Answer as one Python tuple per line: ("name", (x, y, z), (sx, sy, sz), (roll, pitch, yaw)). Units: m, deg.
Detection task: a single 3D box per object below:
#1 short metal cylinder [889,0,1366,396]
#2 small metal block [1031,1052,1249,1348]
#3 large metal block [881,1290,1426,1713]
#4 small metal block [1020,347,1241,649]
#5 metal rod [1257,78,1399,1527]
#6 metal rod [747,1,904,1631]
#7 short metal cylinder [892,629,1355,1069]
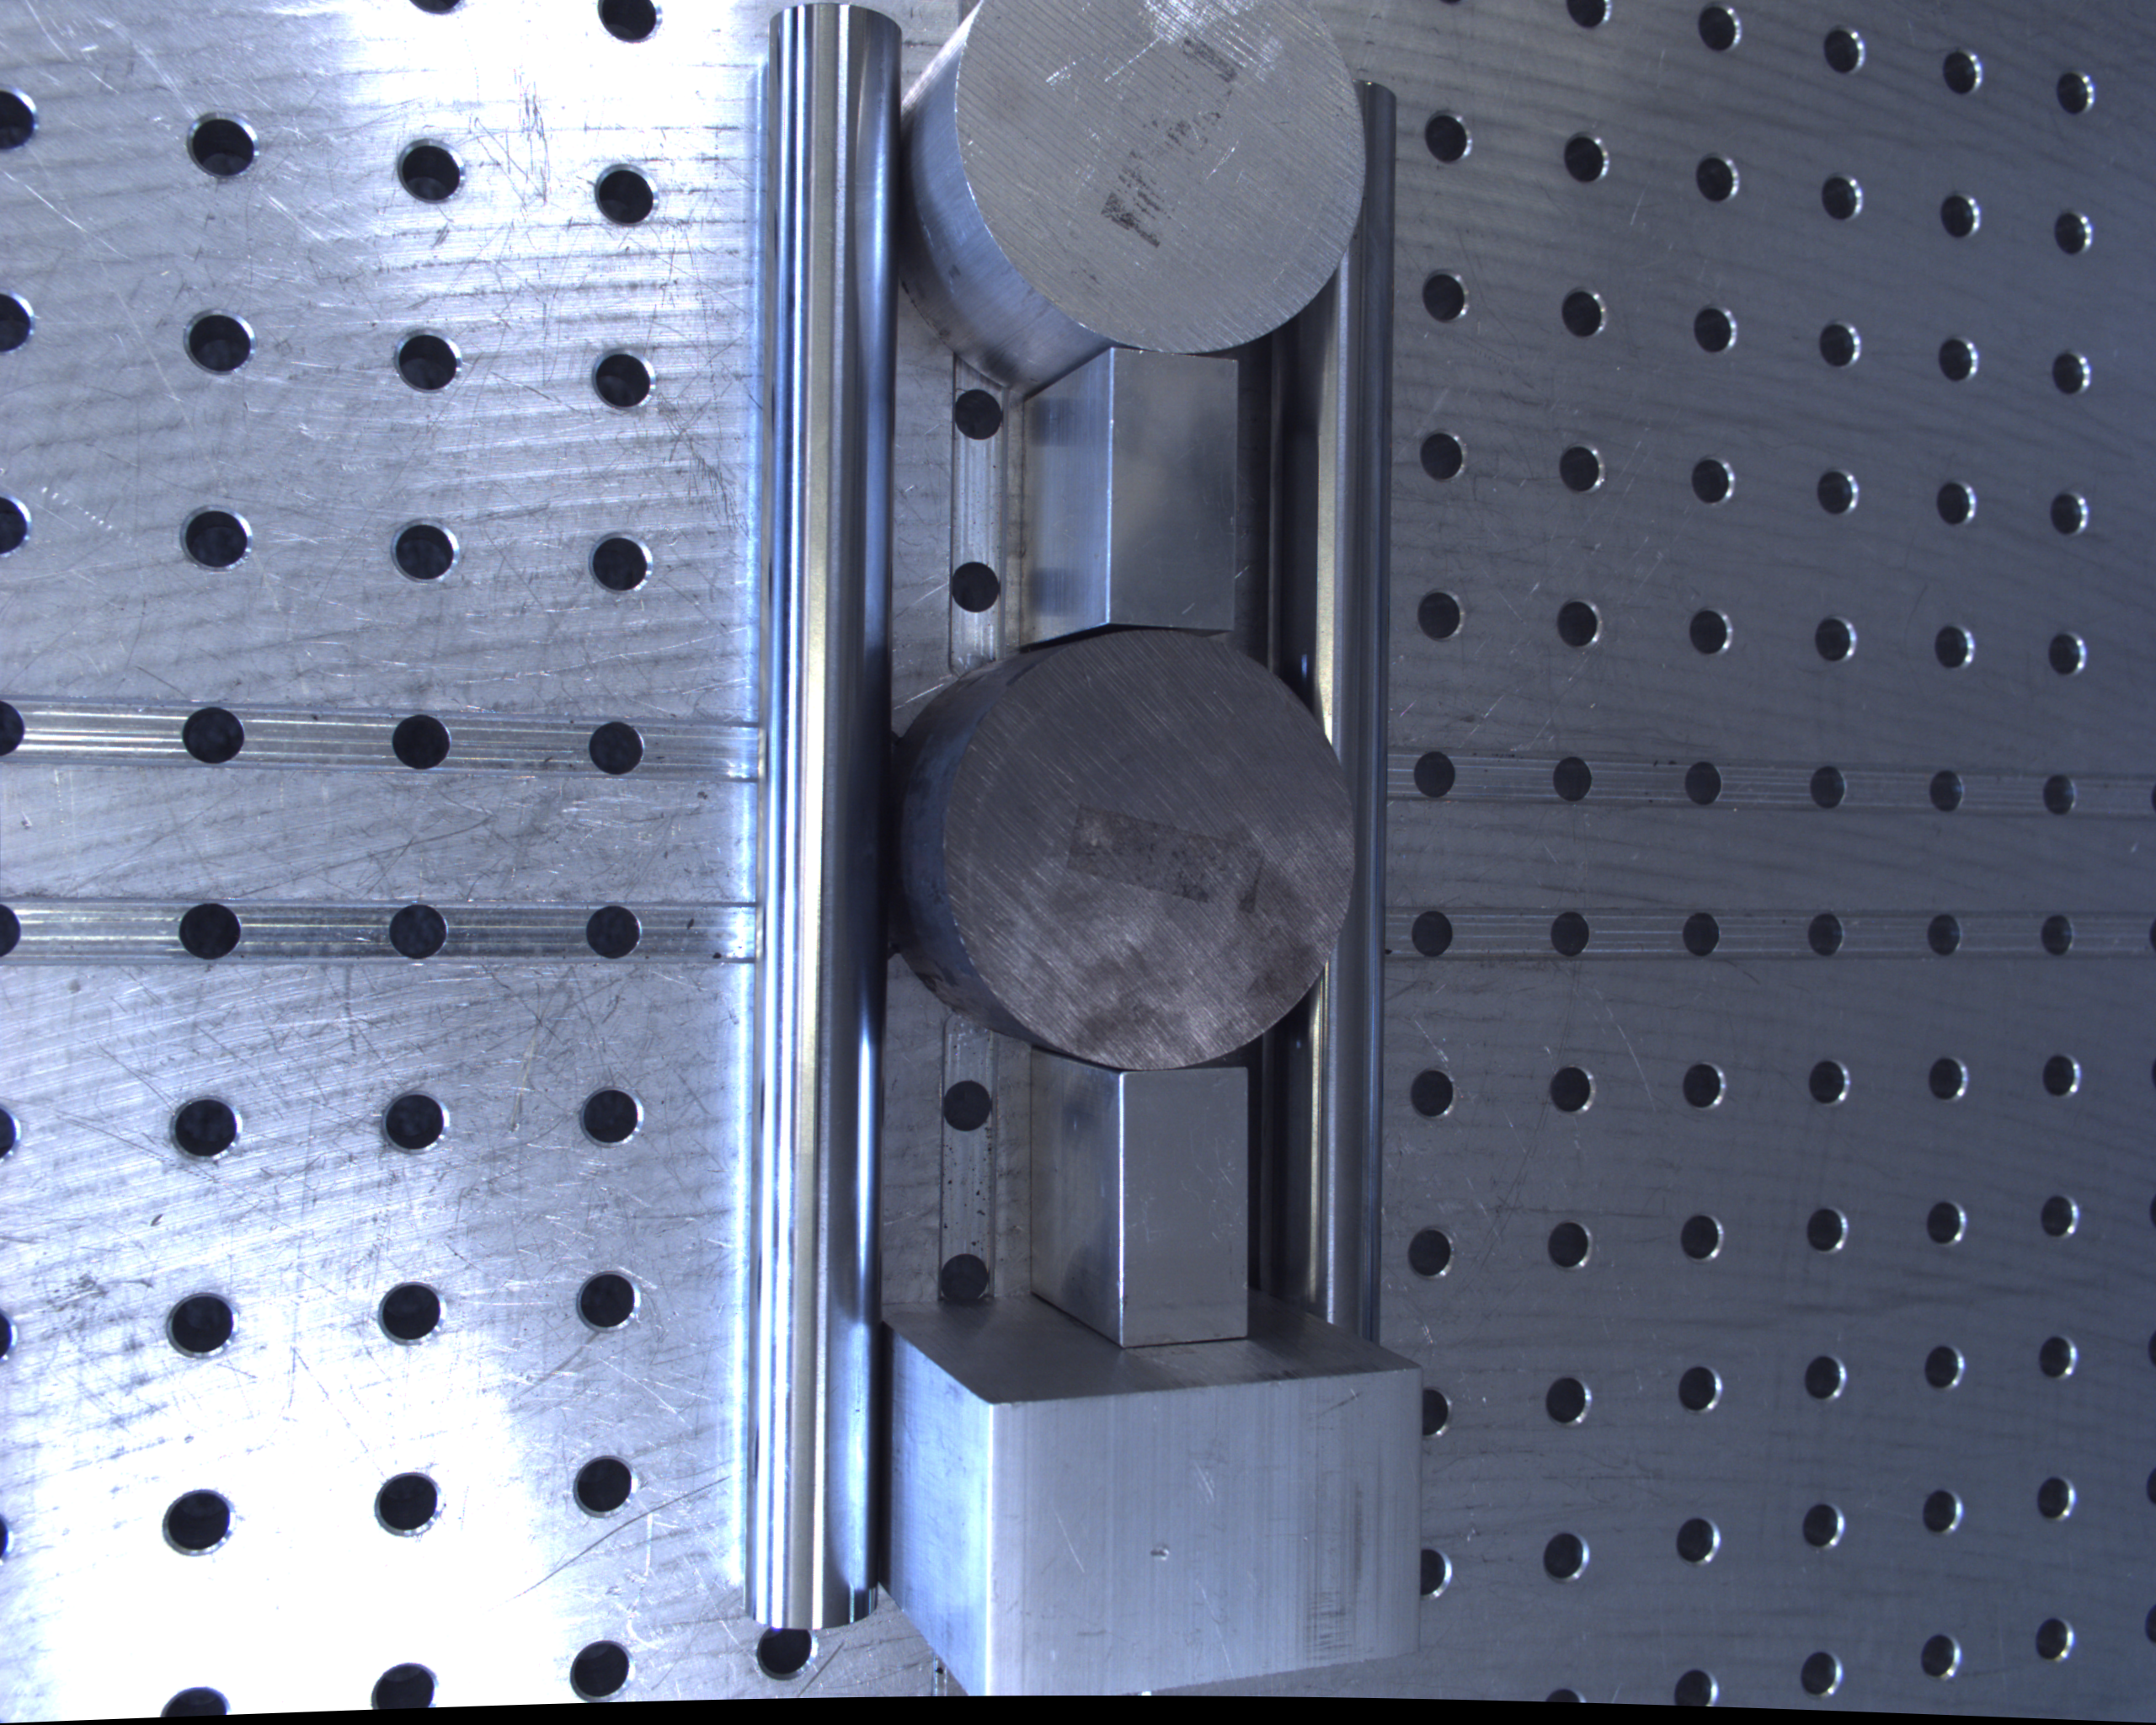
("short metal cylinder", (0.008, -0.132, 0.401), (0.081, 0.050, 0.080), (0, 90, -20))
("small metal block", (0.011, 0.063, 0.402), (0.025, 0.050, 0.050), (0, 90, -20))
("large metal block", (0.009, 0.112, 0.387), (0.081, 0.080, 0.050), (1, 90, -20))
("small metal block", (0.009, -0.067, 0.401), (0.025, 0.050, 0.050), (1, 90, -20))
("metal rod", (0.052, -0.009, 0.430), (0.025, 0.025, 0.298), (1, 90, -20))
("metal rod", (-0.048, -0.009, 0.394), (0.025, 0.025, 0.298), (1, 90, -20))
("short metal cylinder", (0.006, -0.003, 0.401), (0.081, 0.050, 0.080), (0, 90, -20))
